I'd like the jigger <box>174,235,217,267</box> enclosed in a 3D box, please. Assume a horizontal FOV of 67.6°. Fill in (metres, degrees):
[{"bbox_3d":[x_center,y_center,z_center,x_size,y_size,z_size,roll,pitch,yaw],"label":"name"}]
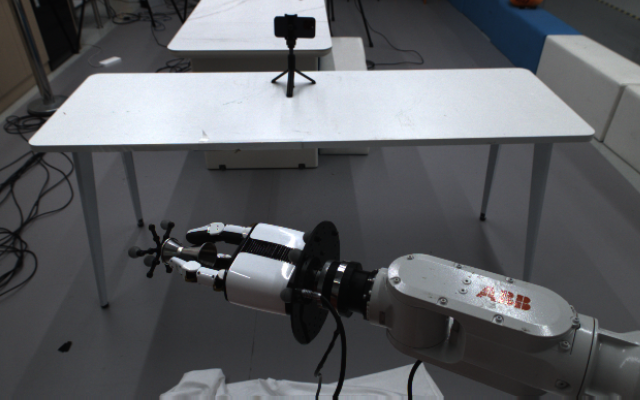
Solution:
[{"bbox_3d":[-0.180,0.072,0.694,0.071,0.043,0.043,5,33,24],"label":"jigger"}]
